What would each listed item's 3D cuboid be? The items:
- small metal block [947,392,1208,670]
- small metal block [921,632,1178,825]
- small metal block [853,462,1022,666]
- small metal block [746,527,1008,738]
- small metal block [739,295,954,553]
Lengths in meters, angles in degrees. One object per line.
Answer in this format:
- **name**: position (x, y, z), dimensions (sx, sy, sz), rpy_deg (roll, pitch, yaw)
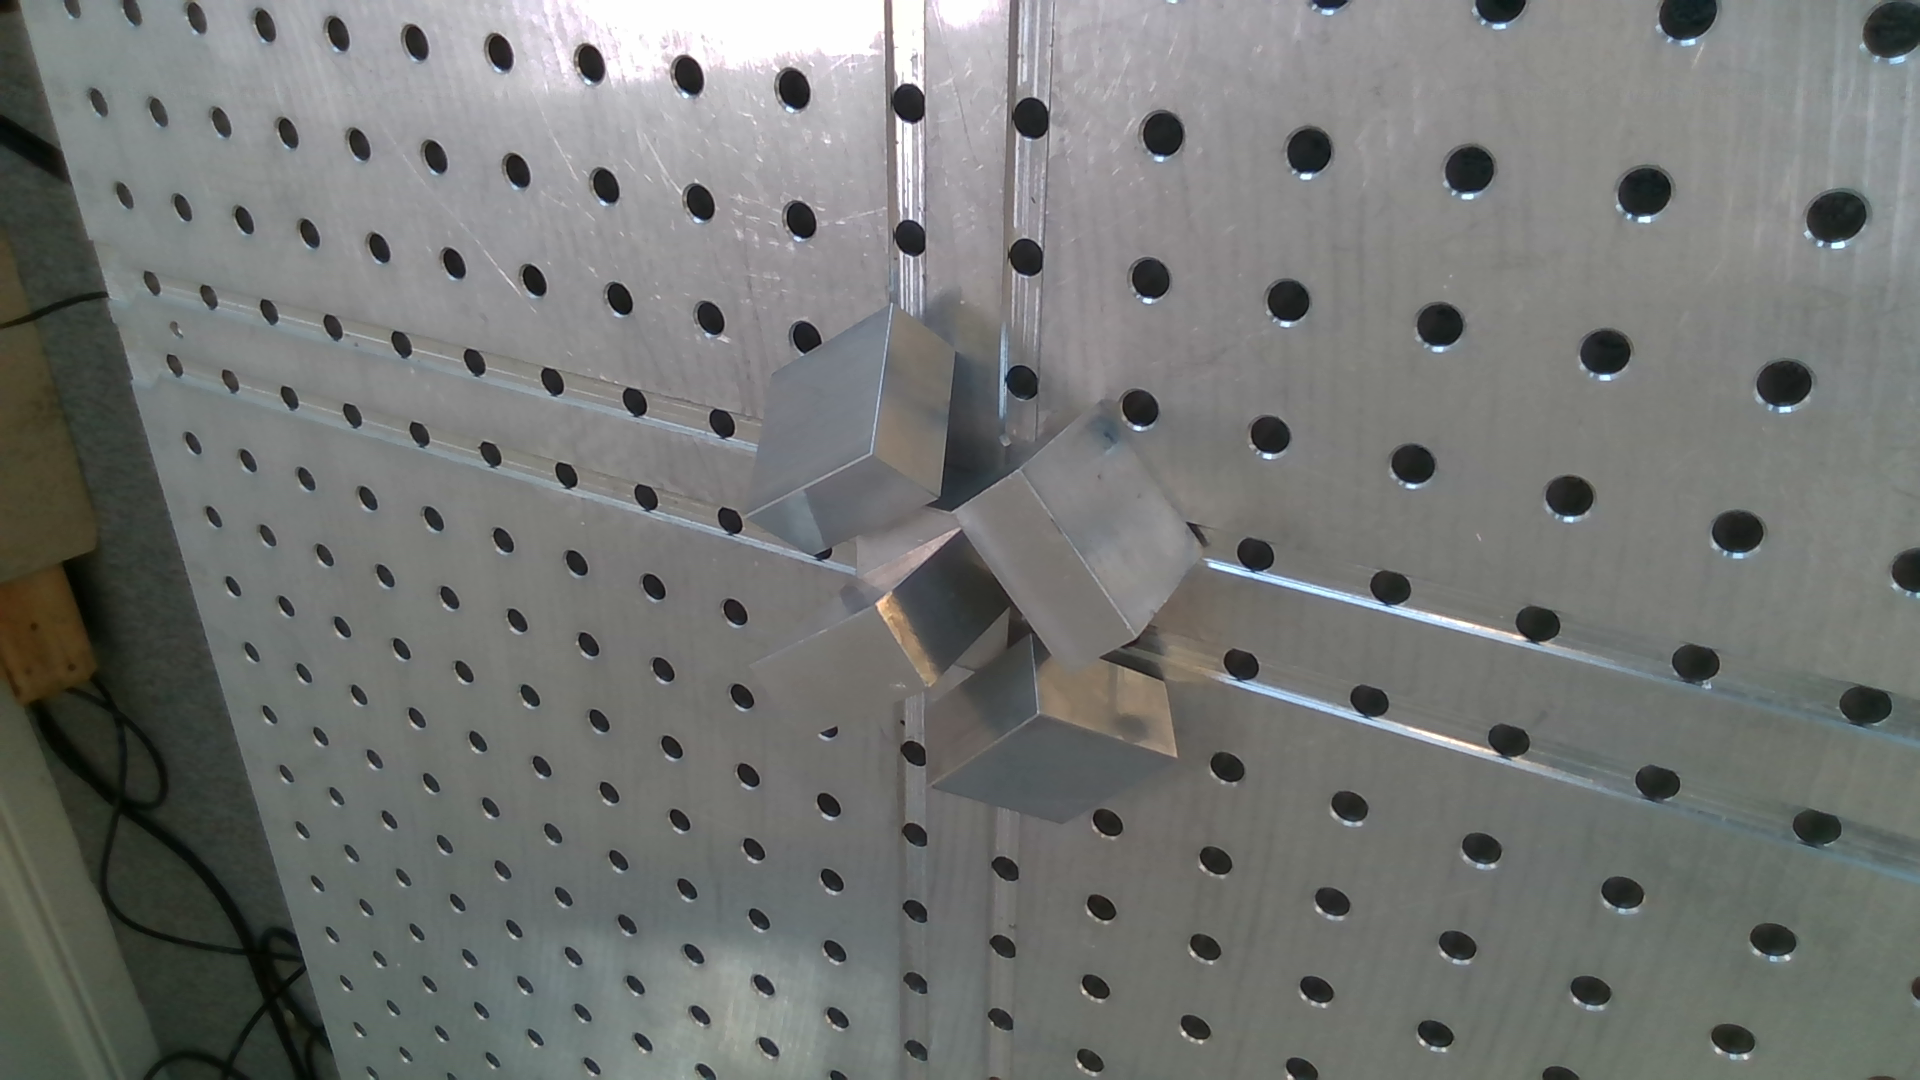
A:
- **small metal block**: position (0.032, -0.003, 0.354), dimensions (0.025, 0.050, 0.050), rpy_deg (-32, 96, 39)
- **small metal block**: position (0.024, 0.054, 0.389), dimensions (0.050, 0.025, 0.050), rpy_deg (21, 137, -31)
- **small metal block**: position (-0.003, 0.006, 0.396), dimensions (0.050, 0.025, 0.050), rpy_deg (14, 123, 24)
- **small metal block**: position (-0.020, 0.023, 0.368), dimensions (0.050, 0.050, 0.025), rpy_deg (-25, 101, 39)
- **small metal block**: position (-0.030, -0.031, 0.374), dimensions (0.050, 0.050, 0.025), rpy_deg (-22, 139, 38)
